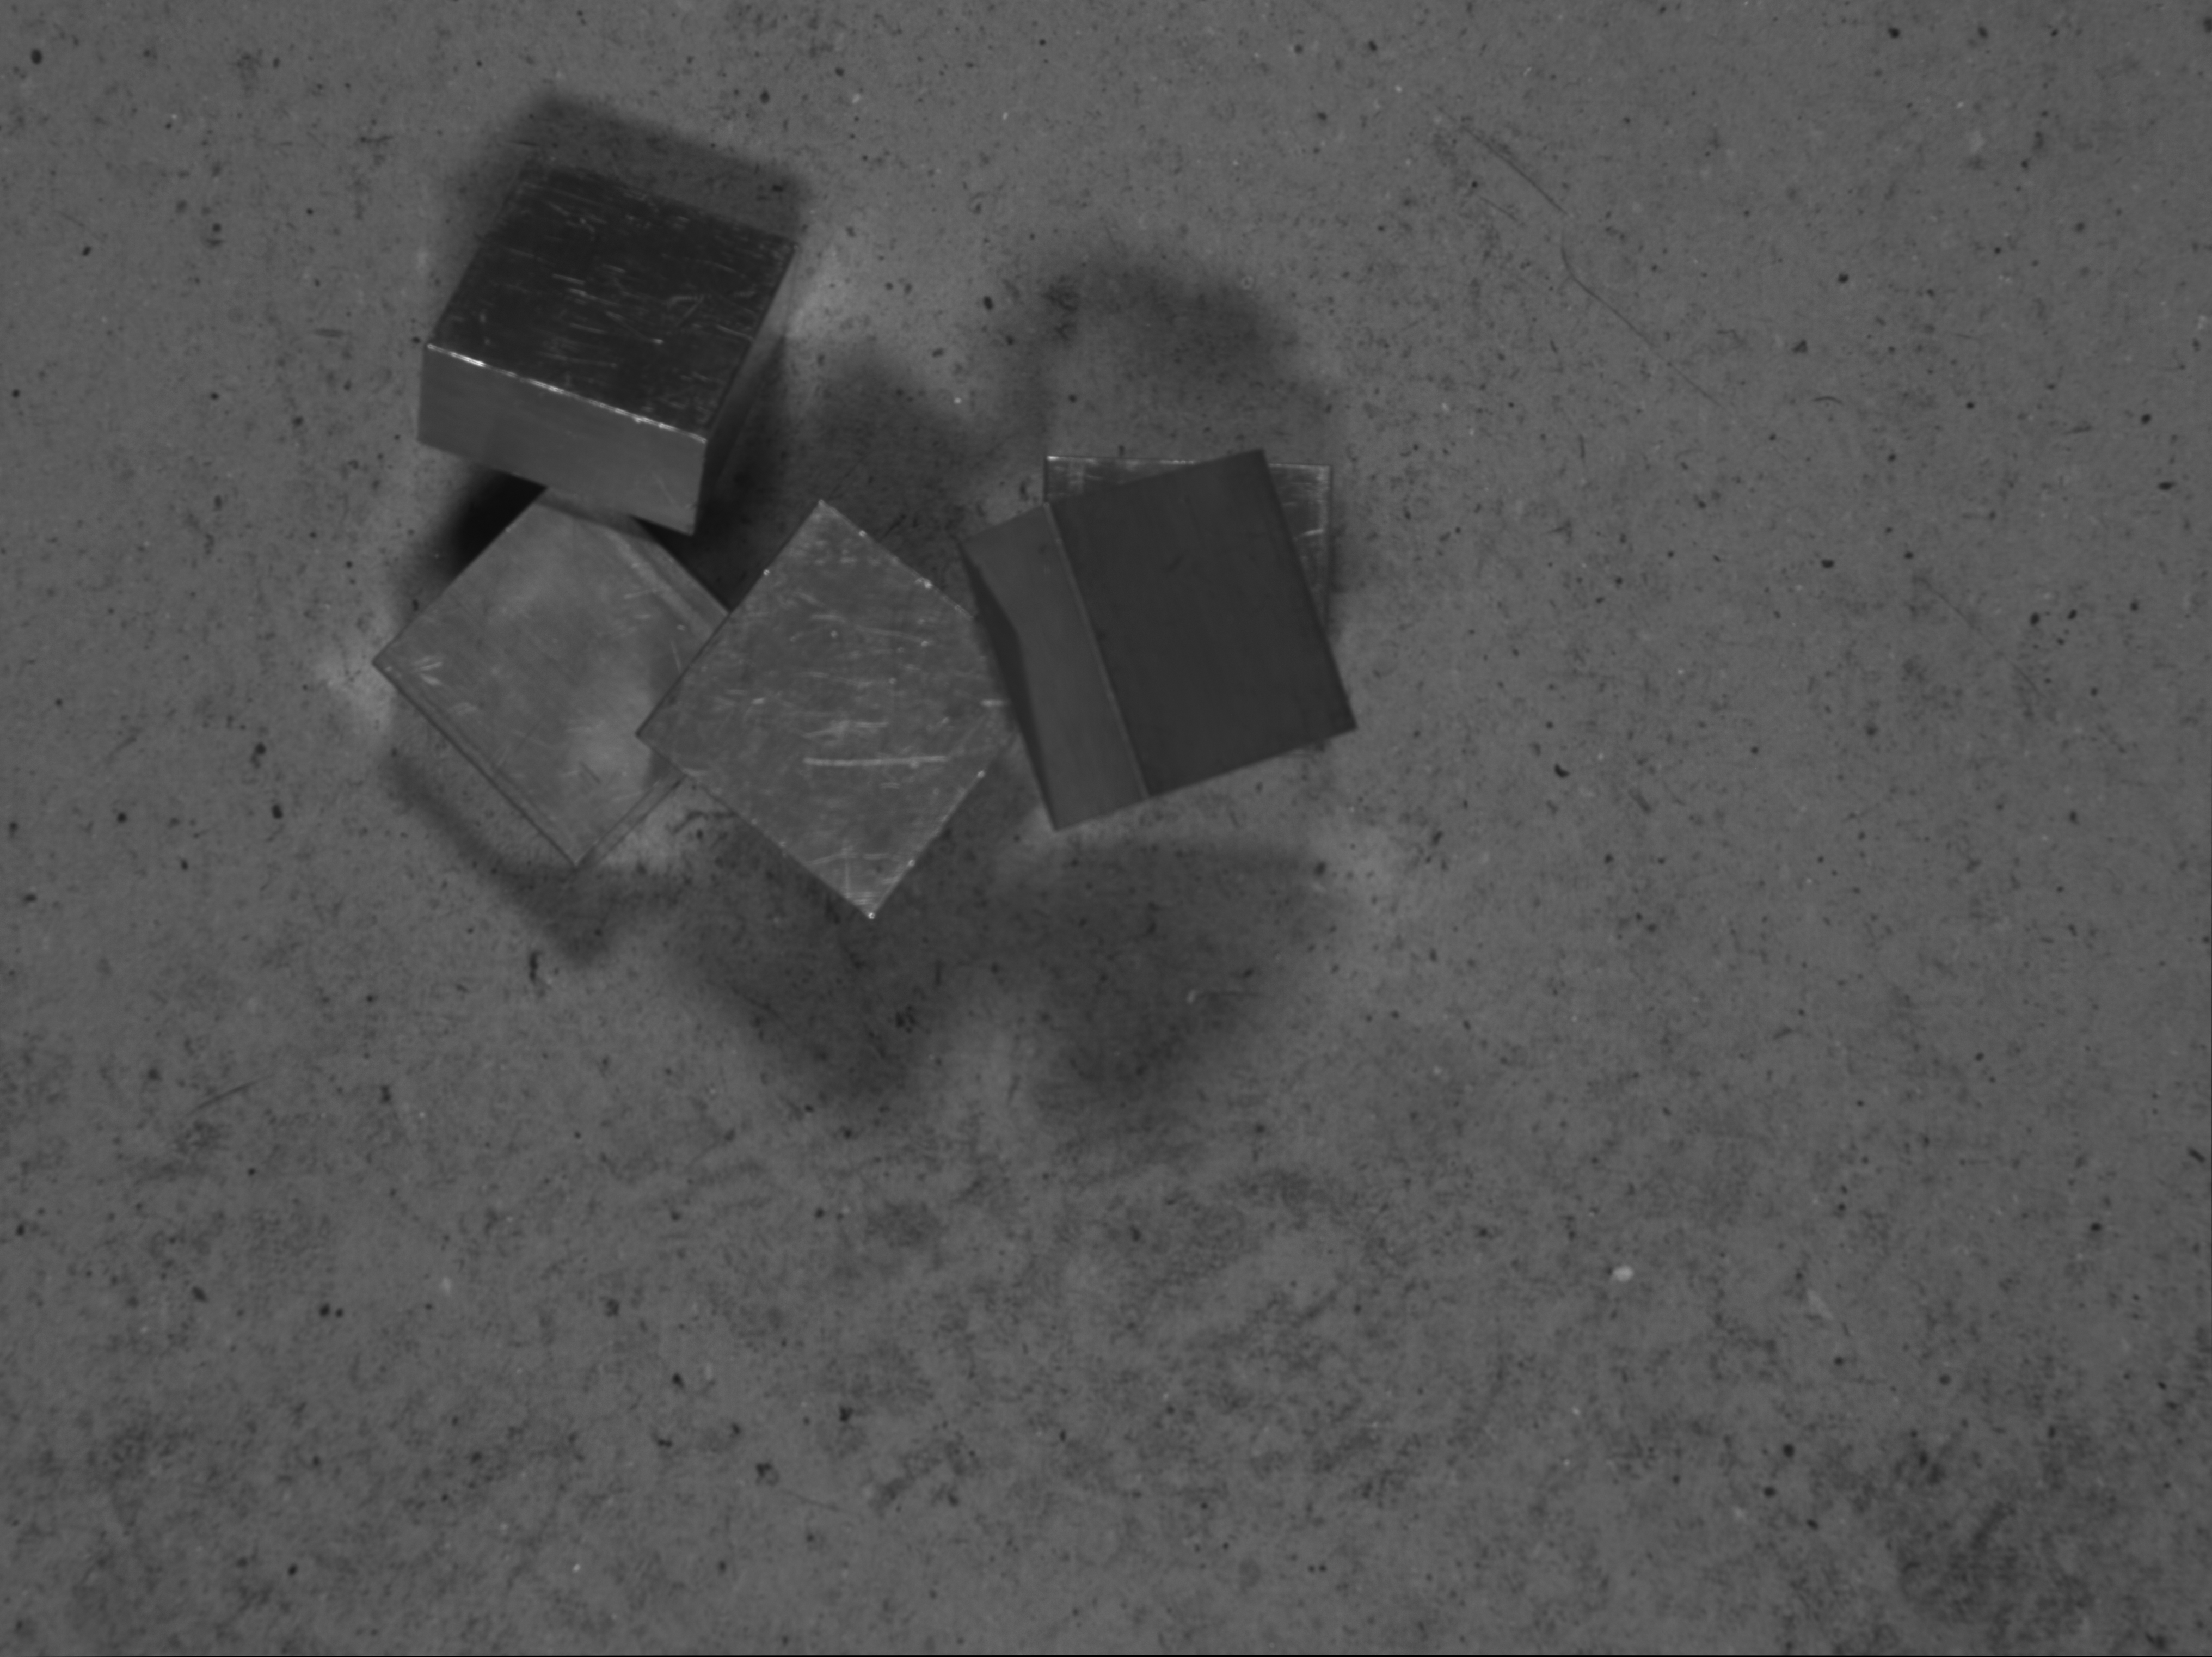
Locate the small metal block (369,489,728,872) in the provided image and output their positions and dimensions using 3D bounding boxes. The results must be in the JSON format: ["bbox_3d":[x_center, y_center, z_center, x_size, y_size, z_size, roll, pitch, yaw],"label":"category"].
[{"bbox_3d":[-0.092,-0.028,0.644,0.050,0.025,0.050,-45,90,0],"label":"small metal block"}]

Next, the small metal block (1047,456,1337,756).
[{"bbox_3d":[0.014,-0.039,0.645,0.050,0.025,0.050,2,90,0],"label":"small metal block"}]

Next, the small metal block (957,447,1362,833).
[{"bbox_3d":[0.009,-0.032,0.608,0.050,0.025,0.050,-19,90,-40],"label":"small metal block"}]

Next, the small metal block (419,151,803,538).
[{"bbox_3d":[-0.085,-0.084,0.633,0.050,0.025,0.050,19,53,0],"label":"small metal block"}]

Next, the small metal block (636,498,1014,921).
[{"bbox_3d":[-0.043,-0.020,0.619,0.050,0.025,0.050,38,90,0],"label":"small metal block"}]
